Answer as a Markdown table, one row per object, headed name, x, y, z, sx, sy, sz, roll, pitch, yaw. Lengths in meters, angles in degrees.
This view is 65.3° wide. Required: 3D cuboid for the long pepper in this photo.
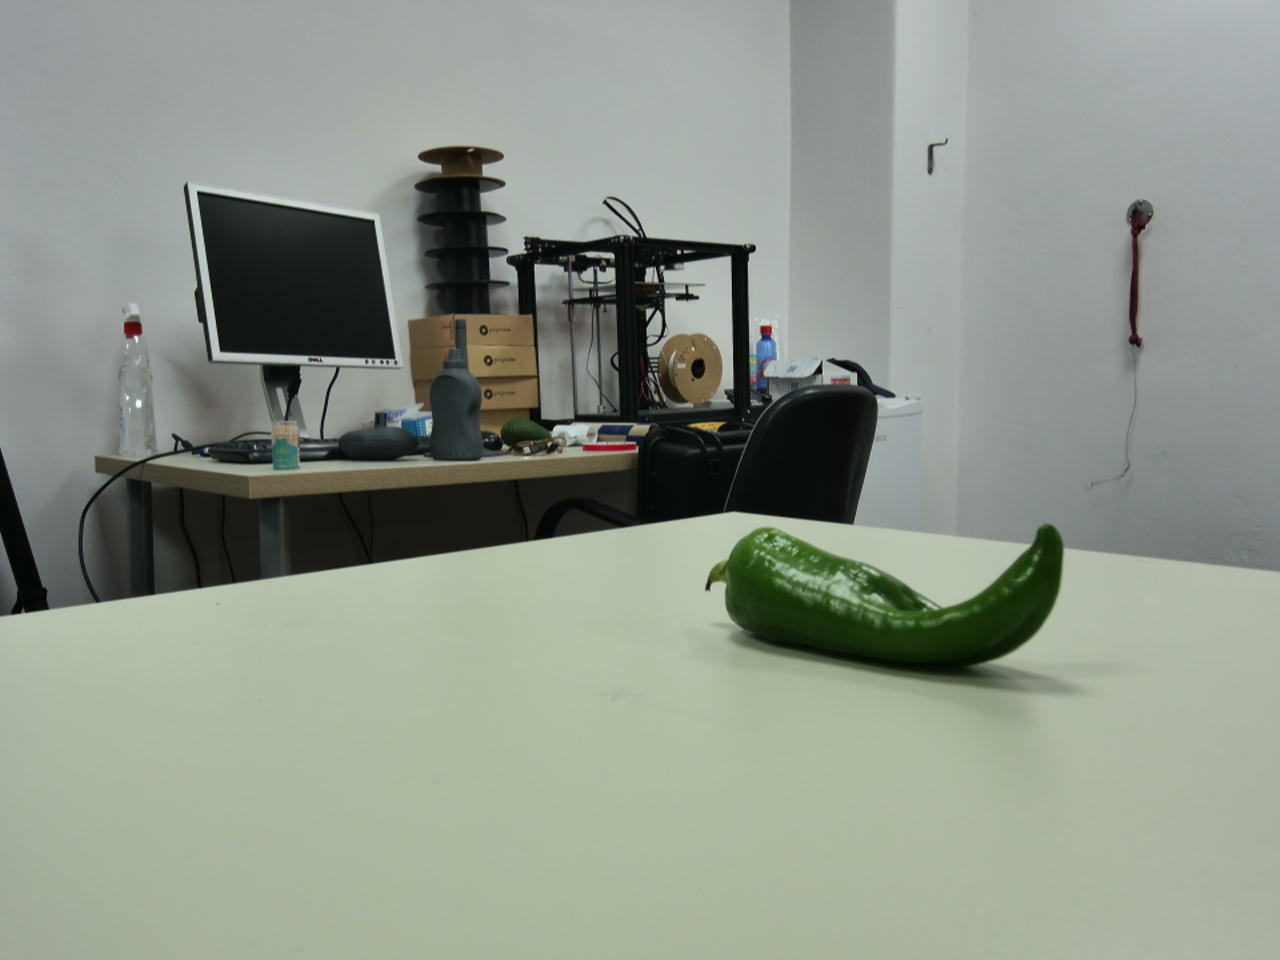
| name | x | y | z | sx | sy | sz | roll | pitch | yaw |
| --- | --- | --- | --- | --- | --- | --- | --- | --- | --- |
| long pepper | 0.100 | 0.047 | 0.454 | 0.058 | 0.065 | 0.175 | -2 | 4 | -42 |
